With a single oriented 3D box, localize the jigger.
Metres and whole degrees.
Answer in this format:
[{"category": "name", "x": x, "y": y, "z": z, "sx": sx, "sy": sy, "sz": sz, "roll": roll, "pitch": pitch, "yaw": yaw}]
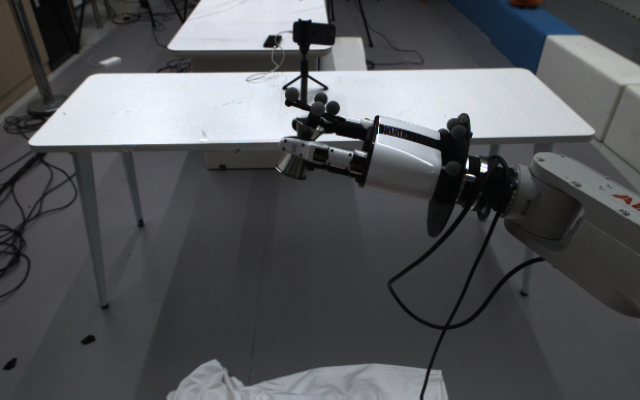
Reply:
[{"category": "jigger", "x": -0.025, "y": -0.065, "z": 0.610, "sx": 0.043, "sy": 0.071, "sz": 0.043, "roll": 23, "pitch": 19, "yaw": -8}]
